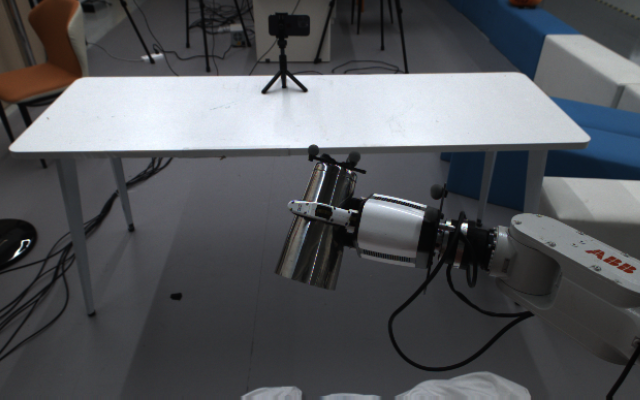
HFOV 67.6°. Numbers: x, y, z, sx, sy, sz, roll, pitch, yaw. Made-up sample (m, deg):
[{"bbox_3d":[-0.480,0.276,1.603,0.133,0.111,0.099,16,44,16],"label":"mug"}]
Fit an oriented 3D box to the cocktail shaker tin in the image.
[{"bbox_3d":[0.000,0.036,0.707,0.093,0.170,0.093,16,-6,2],"label":"cocktail shaker tin"}]
